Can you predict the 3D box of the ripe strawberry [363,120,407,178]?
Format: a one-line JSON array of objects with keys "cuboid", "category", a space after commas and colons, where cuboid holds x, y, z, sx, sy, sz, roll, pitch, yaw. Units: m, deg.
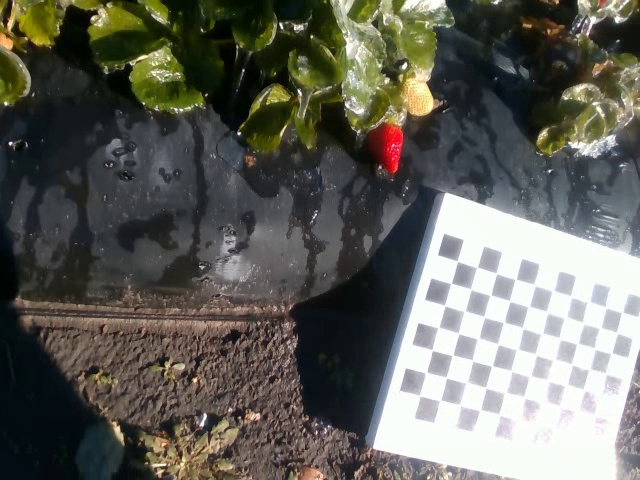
[{"cuboid": [0.072, -0.089, 0.617, 0.041, 0.052, 0.040, -1, -5, -19], "category": "ripe strawberry"}]
